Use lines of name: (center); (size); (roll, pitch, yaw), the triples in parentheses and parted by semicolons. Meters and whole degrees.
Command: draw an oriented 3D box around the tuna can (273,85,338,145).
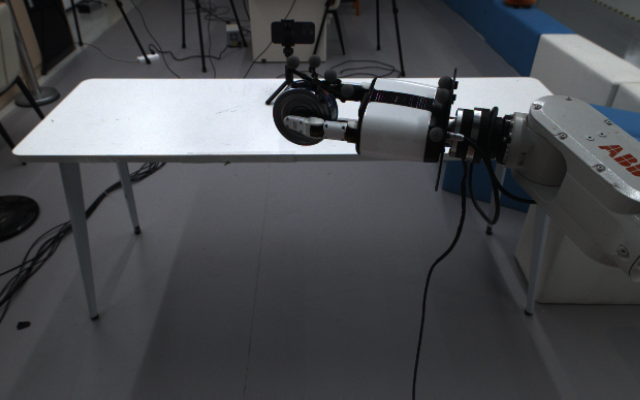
tuna can: (-0.020, -0.119, 0.663); (0.085, 0.085, 0.034); (12, 35, 14)
